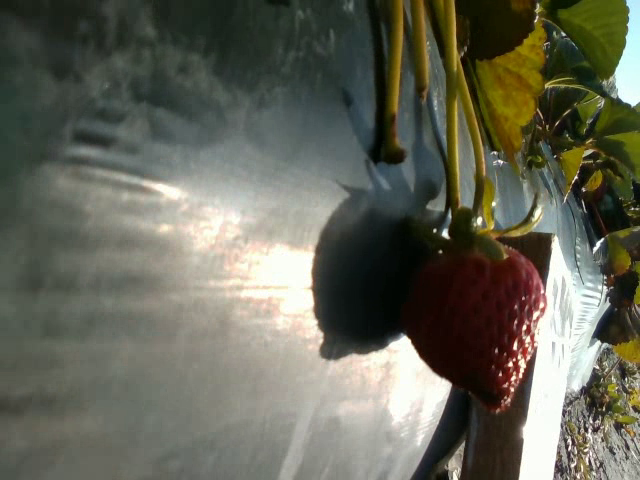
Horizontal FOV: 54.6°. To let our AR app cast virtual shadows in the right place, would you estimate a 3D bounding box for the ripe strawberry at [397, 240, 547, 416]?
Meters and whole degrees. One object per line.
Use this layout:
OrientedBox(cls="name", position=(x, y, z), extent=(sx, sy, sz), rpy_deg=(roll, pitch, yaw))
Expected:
OrientedBox(cls="ripe strawberry", position=(0.039, 0.021, 0.145), extent=(0.036, 0.044, 0.040), rpy_deg=(-5, 6, 28))
